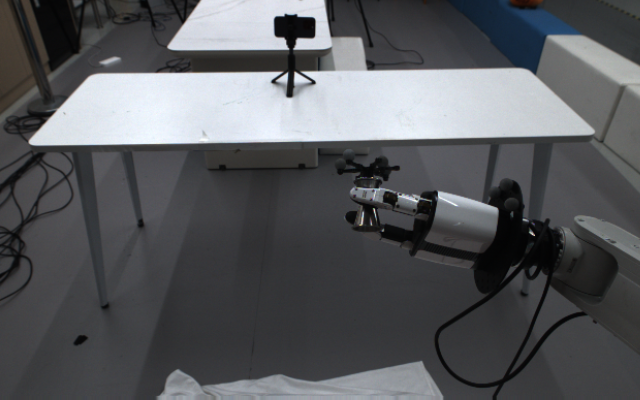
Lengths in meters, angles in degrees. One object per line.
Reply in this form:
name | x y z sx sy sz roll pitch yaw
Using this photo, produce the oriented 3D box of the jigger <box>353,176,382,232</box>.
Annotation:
jigger | 0.064 0.005 0.664 0.043 0.043 0.071 3 76 1
